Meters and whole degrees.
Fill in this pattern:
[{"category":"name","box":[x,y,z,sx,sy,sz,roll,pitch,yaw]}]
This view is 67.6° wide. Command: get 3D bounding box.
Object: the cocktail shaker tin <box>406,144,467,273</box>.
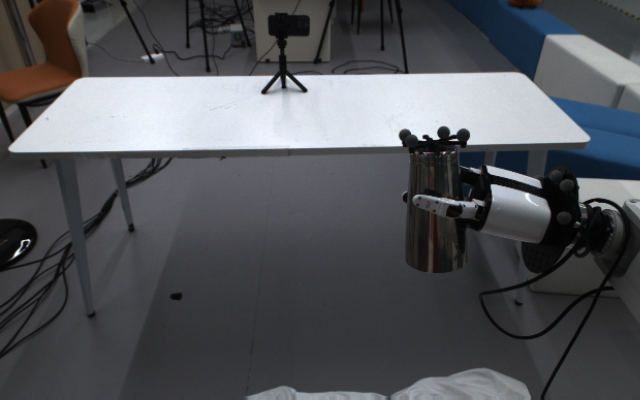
[{"category":"cocktail shaker tin","box":[0.166,0.007,0.698,0.093,0.170,0.093,-6,19,2]}]
